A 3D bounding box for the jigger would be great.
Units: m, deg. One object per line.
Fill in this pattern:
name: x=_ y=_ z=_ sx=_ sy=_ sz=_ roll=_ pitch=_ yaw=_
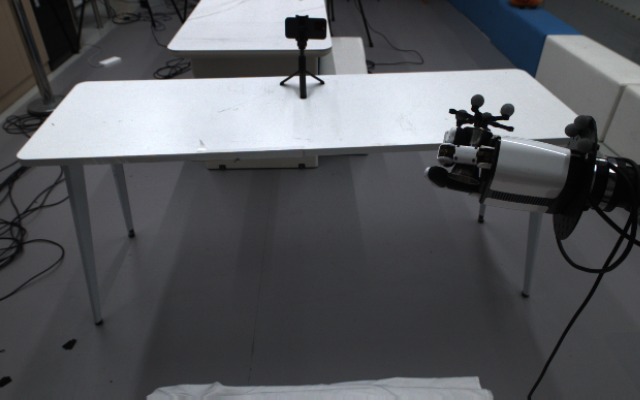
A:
jigger: x=0.203 y=-0.061 z=0.647 sx=0.043 sy=0.071 sz=0.043 roll=18 pitch=-6 yaw=2
